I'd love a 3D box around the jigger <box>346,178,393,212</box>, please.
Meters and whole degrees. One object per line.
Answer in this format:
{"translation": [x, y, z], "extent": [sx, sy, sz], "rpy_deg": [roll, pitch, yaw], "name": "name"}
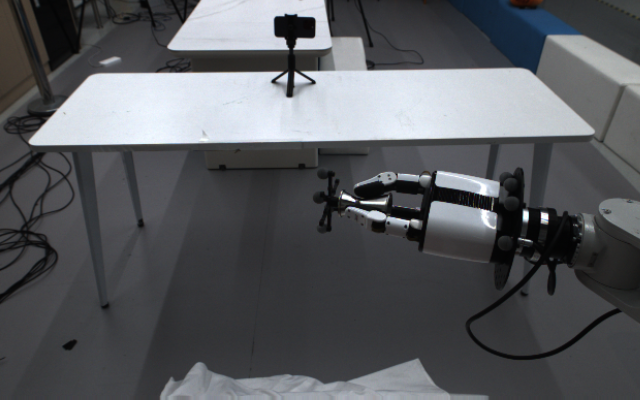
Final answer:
{"translation": [0.069, 0.005, 0.667], "extent": [0.071, 0.043, 0.043], "rpy_deg": [7, 35, 16], "name": "jigger"}
